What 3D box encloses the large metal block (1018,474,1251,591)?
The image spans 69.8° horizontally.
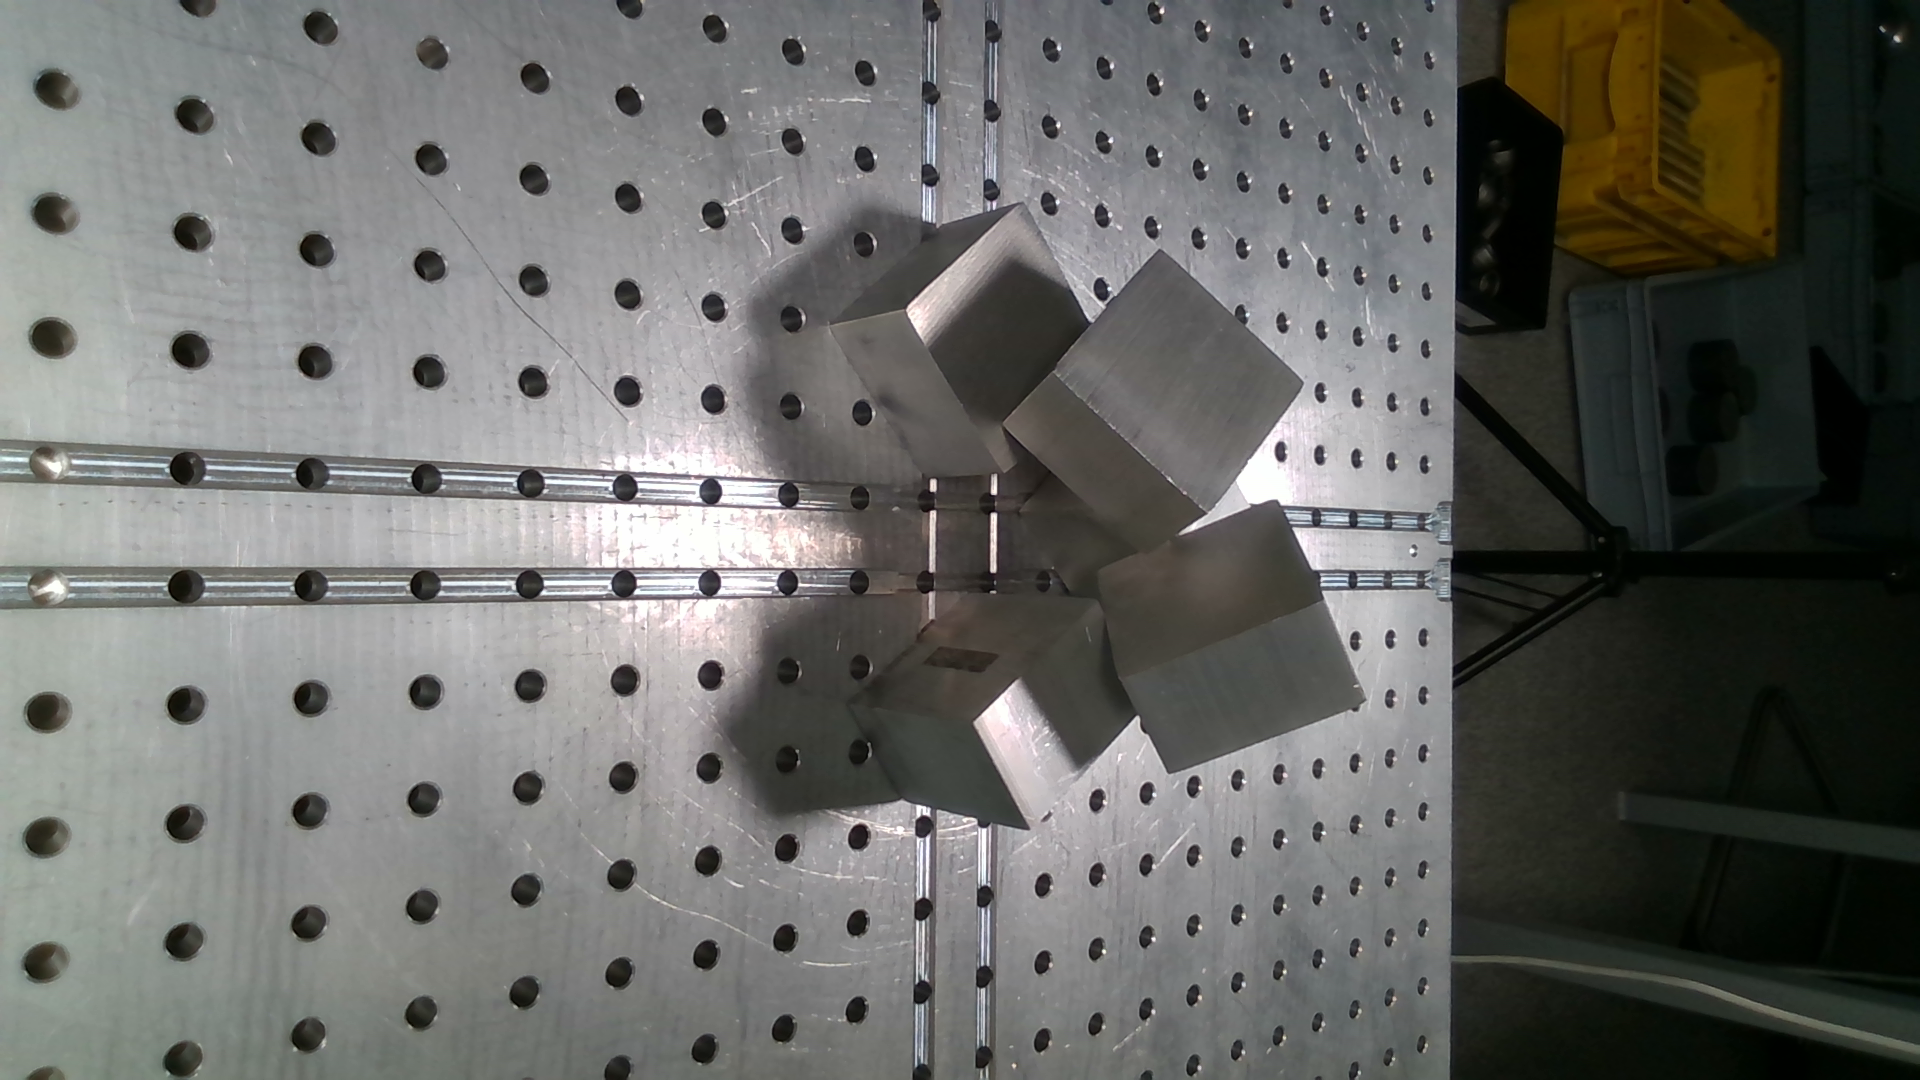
[{"bbox_3d":[0.087,-0.002,0.621,0.050,0.080,0.080,-49,119,-29],"label":"large metal block"}]

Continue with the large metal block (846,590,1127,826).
[{"bbox_3d":[0.015,0.065,0.561,0.080,0.080,0.050,-41,115,-32],"label":"large metal block"}]

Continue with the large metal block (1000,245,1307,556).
[{"bbox_3d":[0.077,-0.055,0.549,0.080,0.050,0.080,42,61,-4],"label":"large metal block"}]

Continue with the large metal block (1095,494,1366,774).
[{"bbox_3d":[0.104,0.036,0.546,0.080,0.080,0.050,-93,157,-60],"label":"large metal block"}]

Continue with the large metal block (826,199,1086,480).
[{"bbox_3d":[0.005,-0.082,0.573,0.080,0.050,0.080,-47,118,-30],"label":"large metal block"}]
